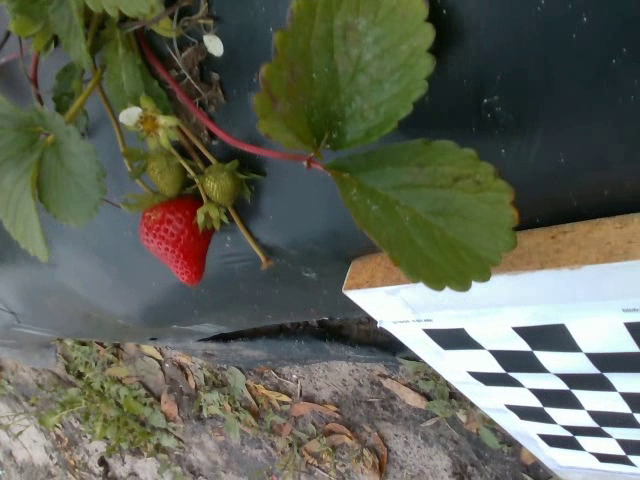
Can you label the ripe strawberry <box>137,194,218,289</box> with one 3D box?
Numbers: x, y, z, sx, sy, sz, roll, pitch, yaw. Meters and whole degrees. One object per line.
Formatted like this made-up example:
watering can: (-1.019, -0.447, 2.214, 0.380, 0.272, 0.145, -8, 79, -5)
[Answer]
ripe strawberry: (-0.021, 0.001, 0.089, 0.018, 0.017, 0.014, -16, 4, 30)
